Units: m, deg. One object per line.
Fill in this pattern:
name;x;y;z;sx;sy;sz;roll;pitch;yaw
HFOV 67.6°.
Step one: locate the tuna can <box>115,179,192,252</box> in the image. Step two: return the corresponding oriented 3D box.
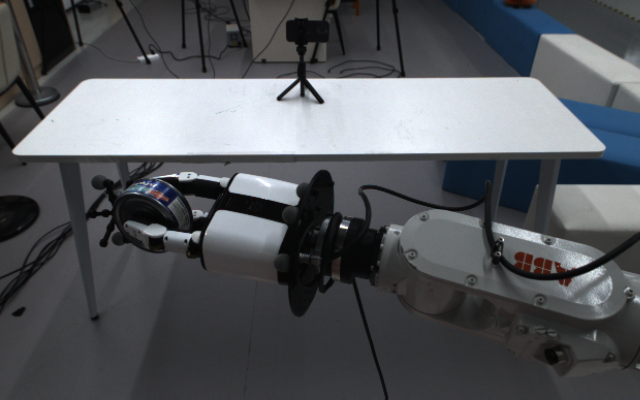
tuna can;-0.191;0.018;0.559;0.085;0.085;0.034;9;34;10
